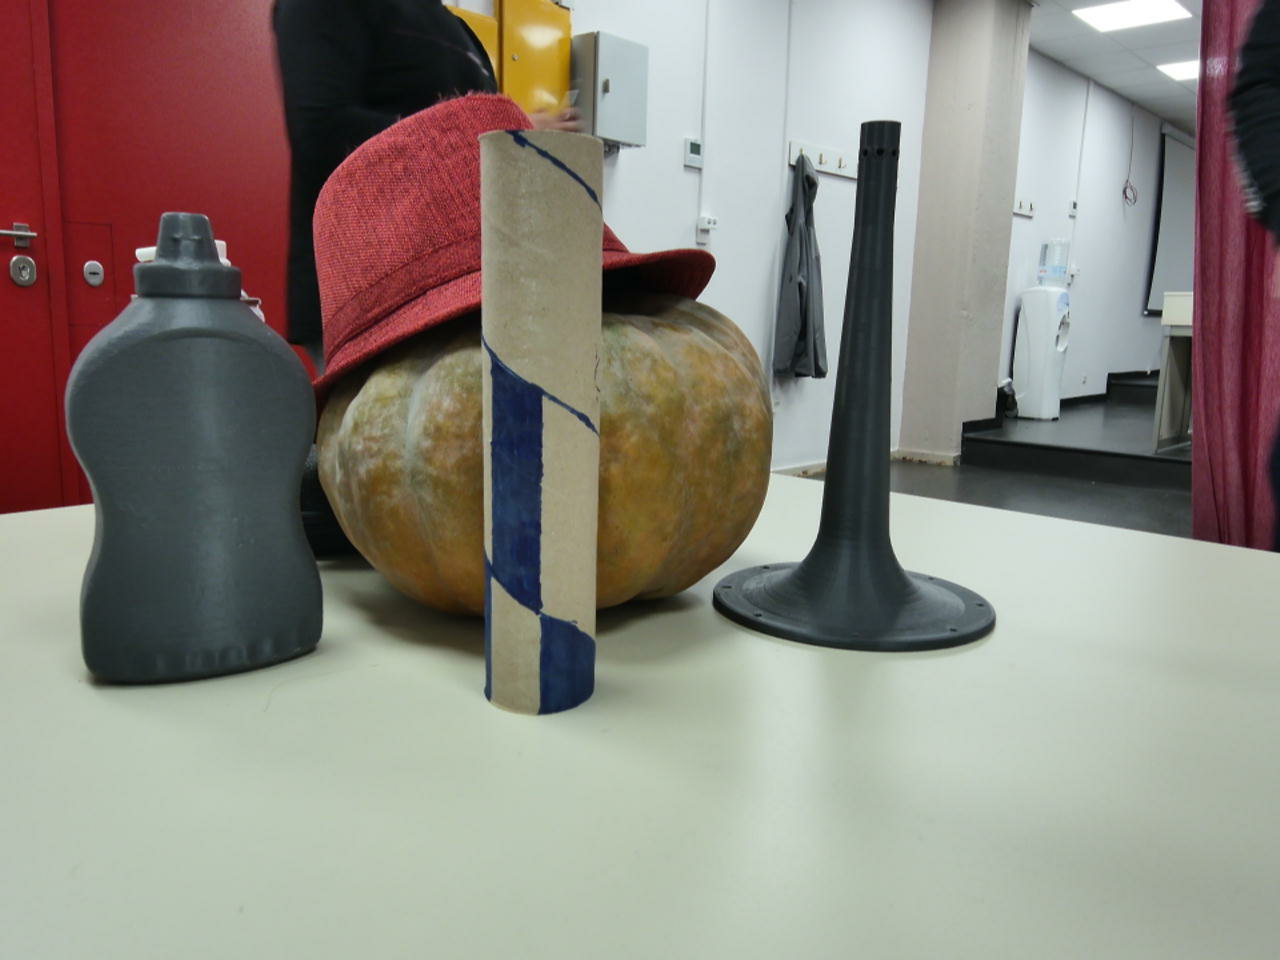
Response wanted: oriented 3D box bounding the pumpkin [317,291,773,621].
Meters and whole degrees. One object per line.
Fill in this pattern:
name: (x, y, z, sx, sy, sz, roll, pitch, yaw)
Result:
pumpkin: (-0.049, -0.019, 0.549, 0.252, 0.168, 0.252, 1, 8, 0)
